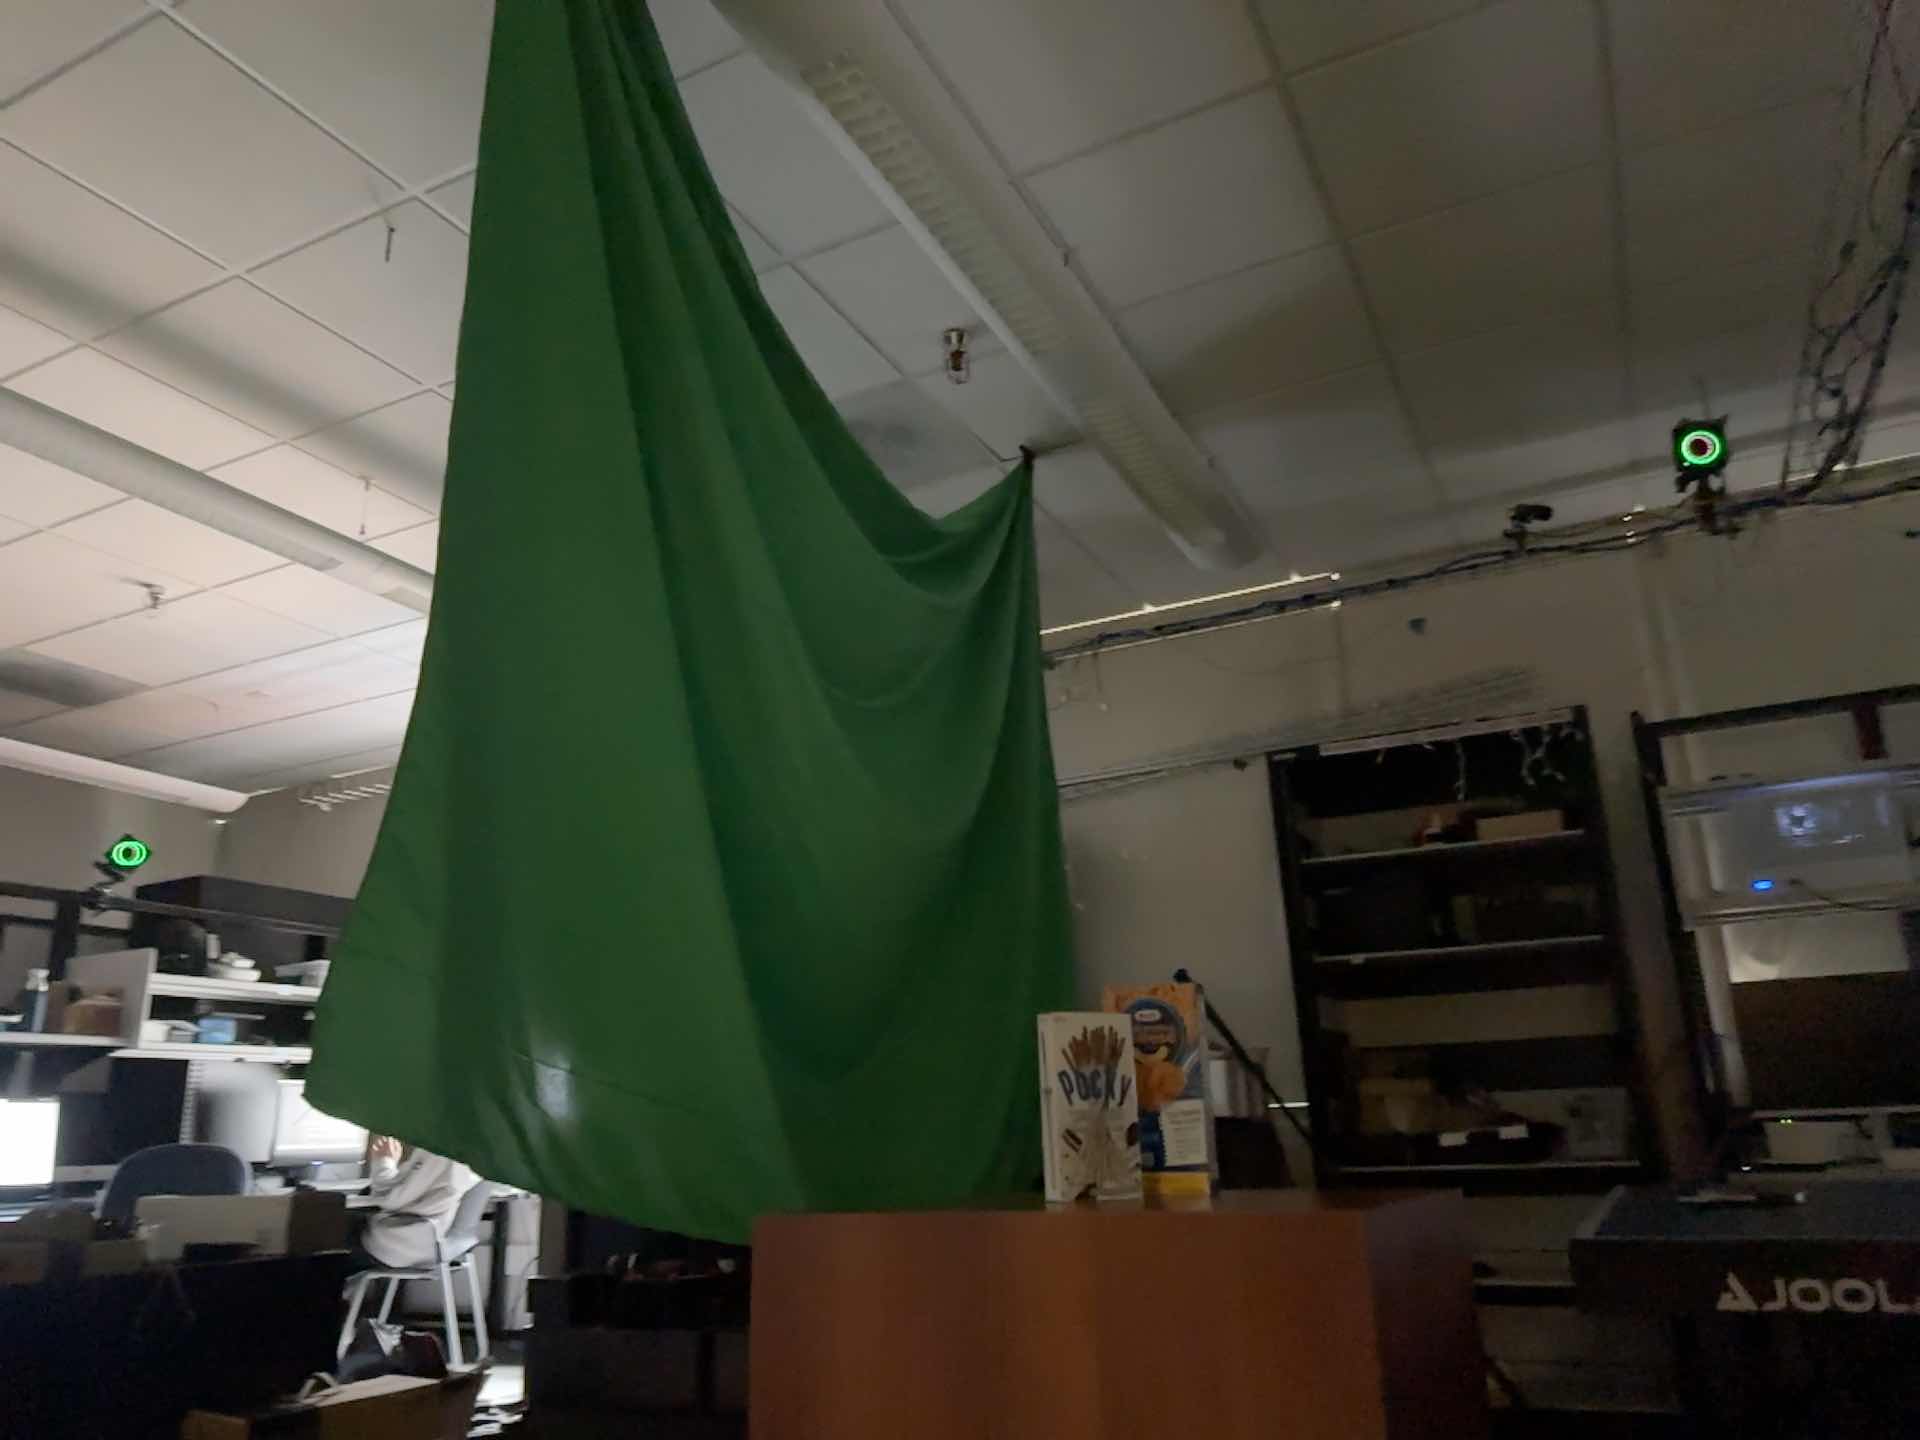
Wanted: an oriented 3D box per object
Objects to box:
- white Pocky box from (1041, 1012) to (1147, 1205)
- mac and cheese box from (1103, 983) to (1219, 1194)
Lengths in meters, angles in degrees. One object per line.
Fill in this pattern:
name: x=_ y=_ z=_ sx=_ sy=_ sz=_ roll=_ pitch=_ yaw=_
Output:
white Pocky box: x=0.112 y=0.324 z=1.128 sx=0.084 sy=0.154 sz=0.028 roll=6 pitch=-17 yaw=-22
mac and cheese box: x=0.183 y=0.338 z=1.233 sx=0.088 sy=0.181 sz=0.035 roll=-8 pitch=-18 yaw=20
